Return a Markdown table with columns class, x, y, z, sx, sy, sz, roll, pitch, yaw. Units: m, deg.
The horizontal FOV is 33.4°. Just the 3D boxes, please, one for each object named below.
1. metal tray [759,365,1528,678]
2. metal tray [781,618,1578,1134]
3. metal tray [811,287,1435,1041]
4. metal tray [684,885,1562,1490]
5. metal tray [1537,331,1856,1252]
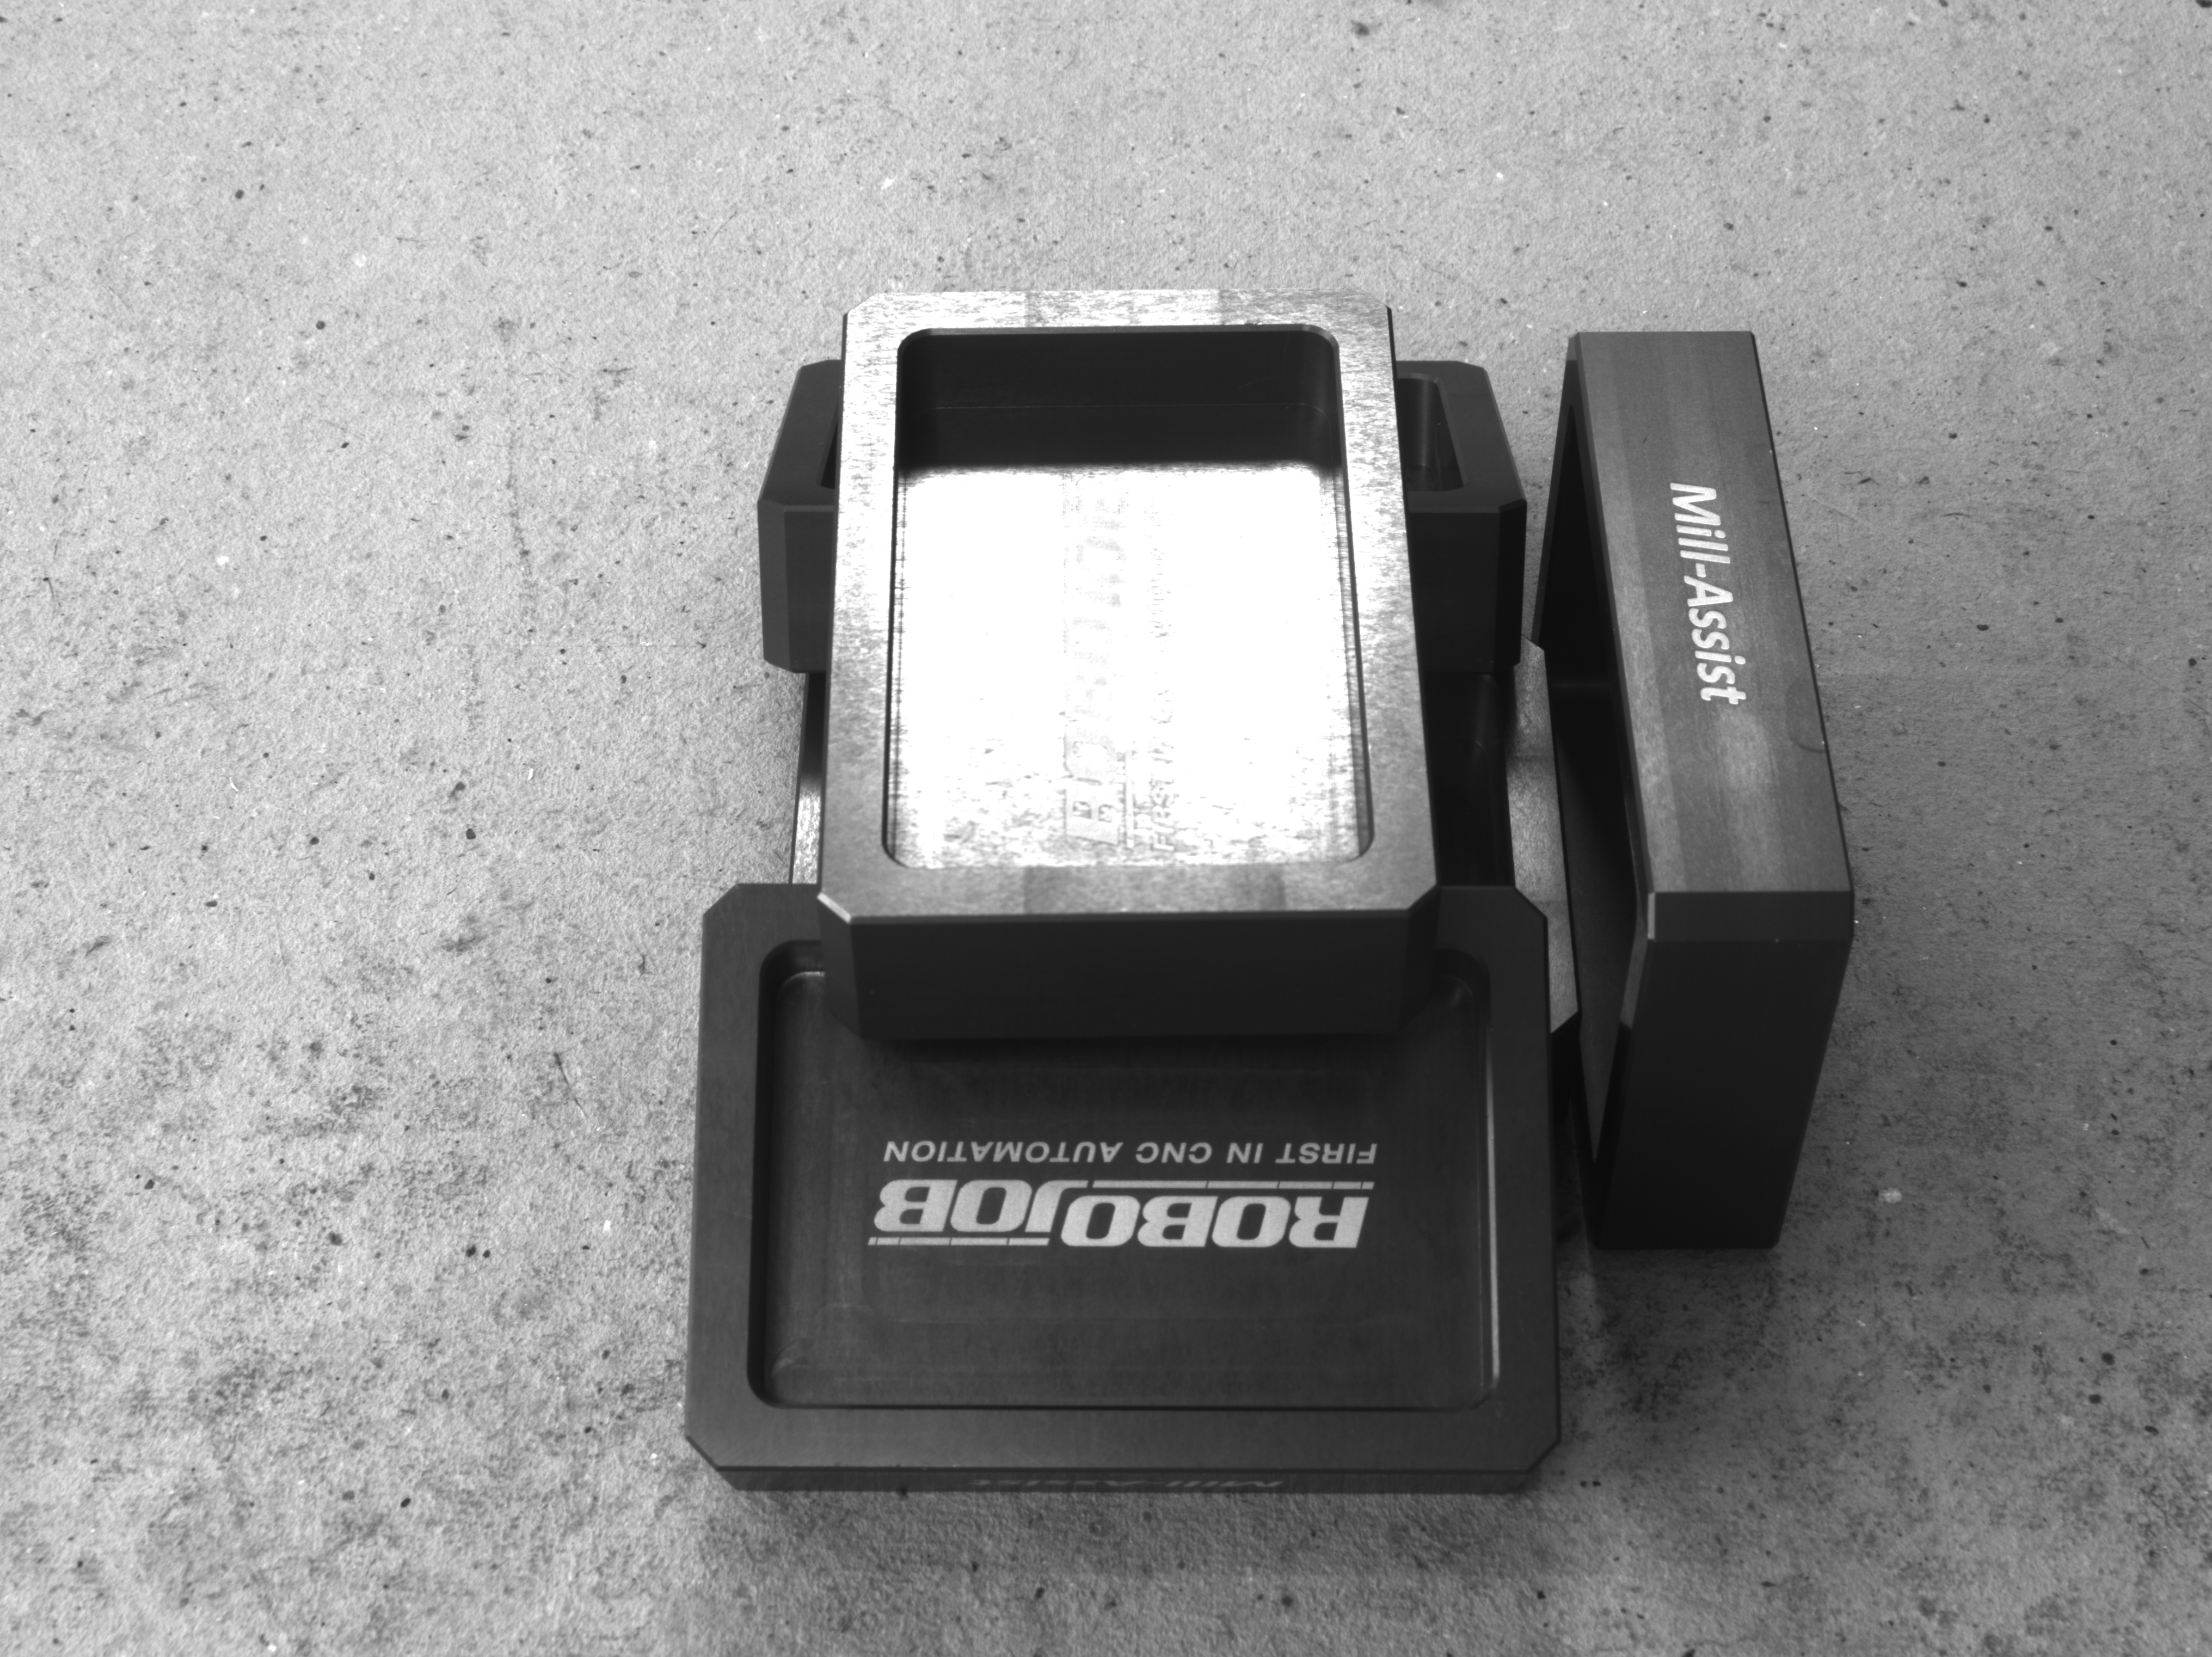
| class | x | y | z | sx | sy | sz | roll | pitch | yaw |
| --- | --- | --- | --- | --- | --- | --- | --- | --- | --- |
| metal tray | 0.006 | -0.057 | 0.665 | 0.130 | 0.030 | 0.090 | 0 | 23 | 0 |
| metal tray | 0.011 | 0.007 | 0.631 | 0.130 | 0.030 | 0.090 | -1 | 51 | 0 |
| metal tray | 0.002 | -0.029 | 0.579 | 0.090 | 0.030 | 0.130 | -1 | 52 | 0 |
| metal tray | 0.003 | 0.056 | 0.570 | 0.130 | 0.030 | 0.090 | 0 | 75 | 0 |
| metal tray | 0.094 | -0.007 | 0.606 | 0.030 | 0.090 | 0.130 | -1 | 50 | 0 |
